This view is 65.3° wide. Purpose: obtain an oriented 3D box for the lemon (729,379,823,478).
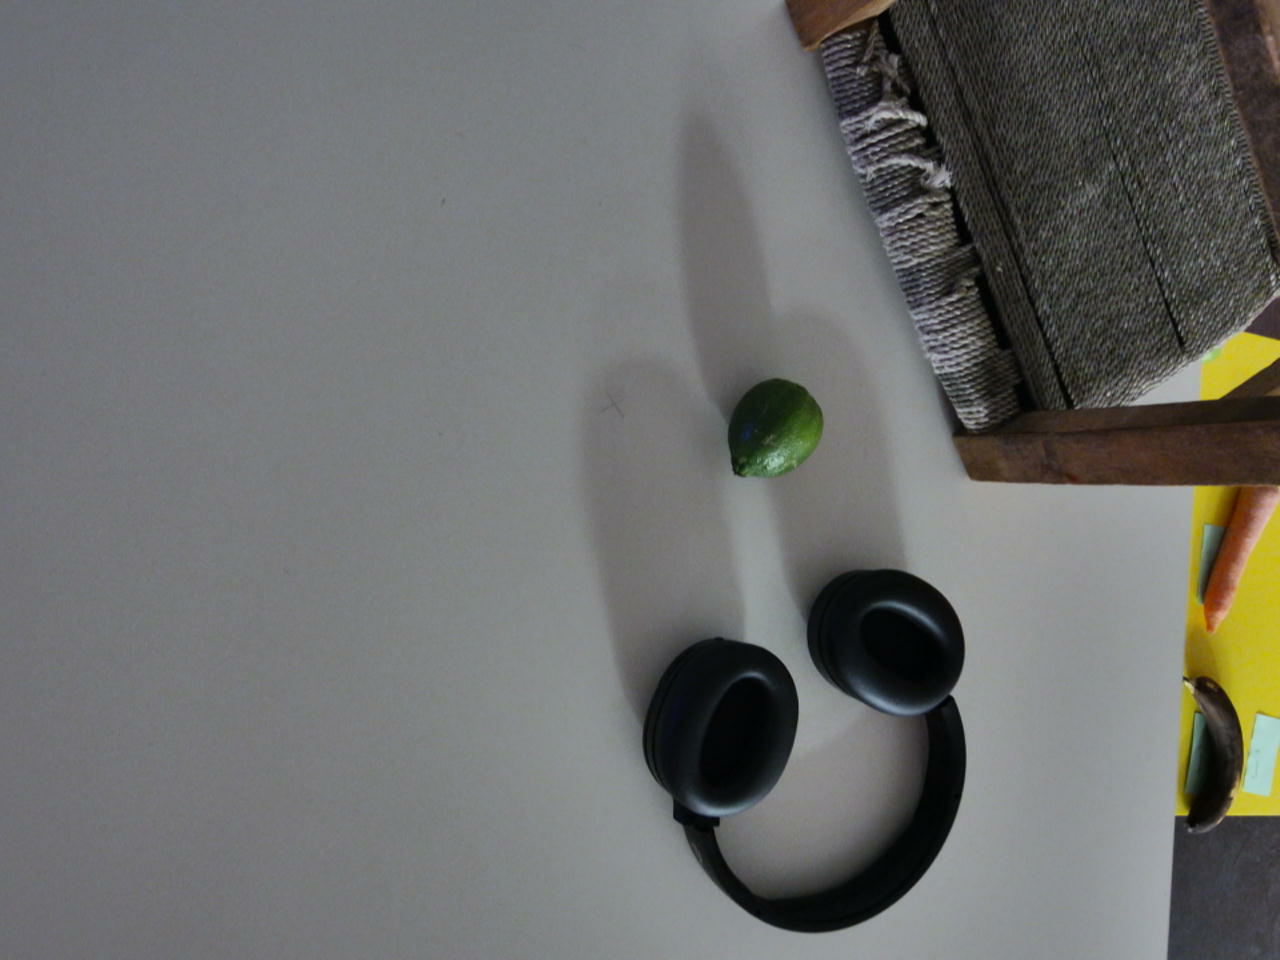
[{"bbox_3d":[0.079,-0.030,0.583,0.054,0.051,0.057,1,90,-22],"label":"lemon"}]
